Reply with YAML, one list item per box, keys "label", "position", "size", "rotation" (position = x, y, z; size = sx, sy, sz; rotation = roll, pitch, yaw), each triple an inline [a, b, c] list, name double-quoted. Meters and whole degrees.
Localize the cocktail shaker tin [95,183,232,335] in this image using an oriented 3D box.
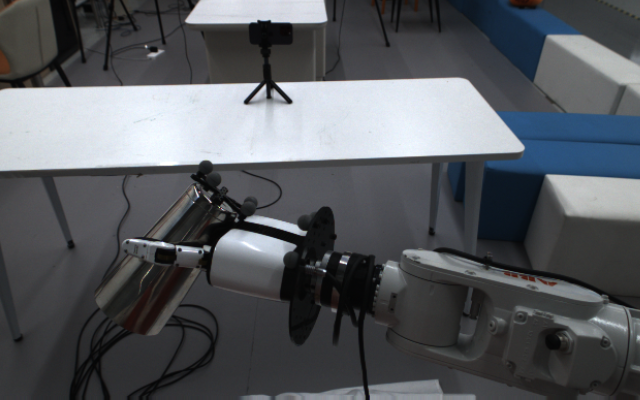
- label: "cocktail shaker tin"
  position: [-0.175, 0.063, 0.580]
  size: [0.170, 0.093, 0.093]
  rotation: [-50, 45, 5]
